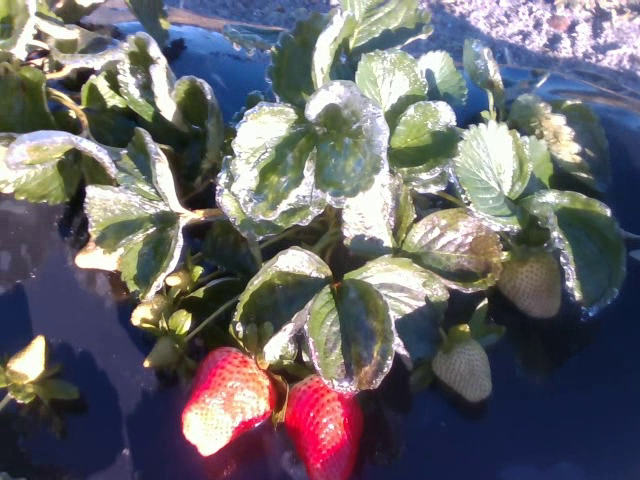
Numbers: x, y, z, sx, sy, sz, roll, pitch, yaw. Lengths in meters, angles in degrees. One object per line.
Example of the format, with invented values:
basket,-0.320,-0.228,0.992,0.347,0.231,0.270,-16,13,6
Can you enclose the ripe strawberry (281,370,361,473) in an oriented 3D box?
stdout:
ripe strawberry,0.000,0.101,0.335,0.043,0.059,0.040,-15,-22,-4

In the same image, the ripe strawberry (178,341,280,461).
ripe strawberry,-0.053,0.095,0.347,0.052,0.070,0.040,31,-22,2
